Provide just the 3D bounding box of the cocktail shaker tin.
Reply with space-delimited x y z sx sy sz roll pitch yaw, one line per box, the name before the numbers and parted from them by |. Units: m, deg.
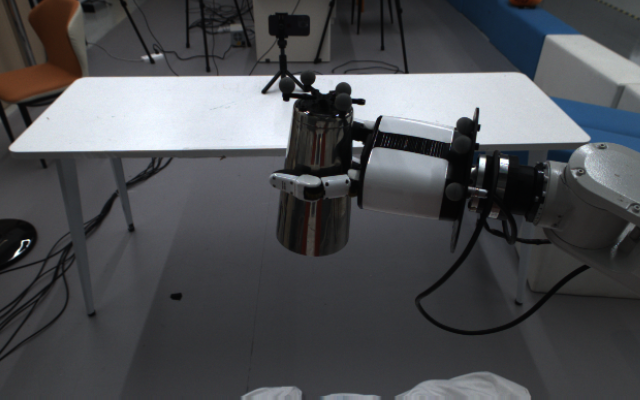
cocktail shaker tin | -0.002 -0.030 0.565 0.093 0.170 0.093 4 32 -2
